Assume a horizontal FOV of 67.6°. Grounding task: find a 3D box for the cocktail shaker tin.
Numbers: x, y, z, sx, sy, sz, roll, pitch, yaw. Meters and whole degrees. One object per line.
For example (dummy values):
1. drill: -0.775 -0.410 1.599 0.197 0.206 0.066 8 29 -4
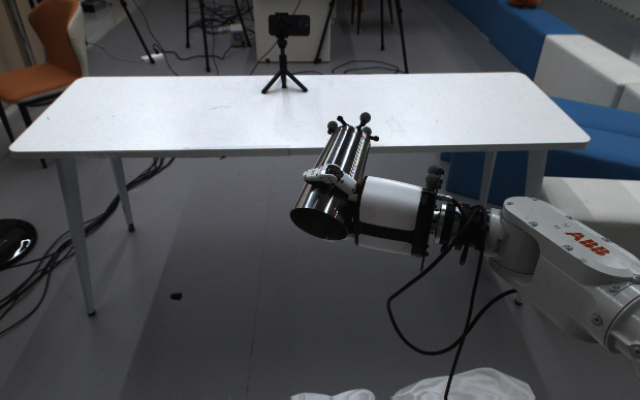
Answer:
1. cocktail shaker tin: 0.023 -0.033 0.760 0.093 0.093 0.170 14 61 16
